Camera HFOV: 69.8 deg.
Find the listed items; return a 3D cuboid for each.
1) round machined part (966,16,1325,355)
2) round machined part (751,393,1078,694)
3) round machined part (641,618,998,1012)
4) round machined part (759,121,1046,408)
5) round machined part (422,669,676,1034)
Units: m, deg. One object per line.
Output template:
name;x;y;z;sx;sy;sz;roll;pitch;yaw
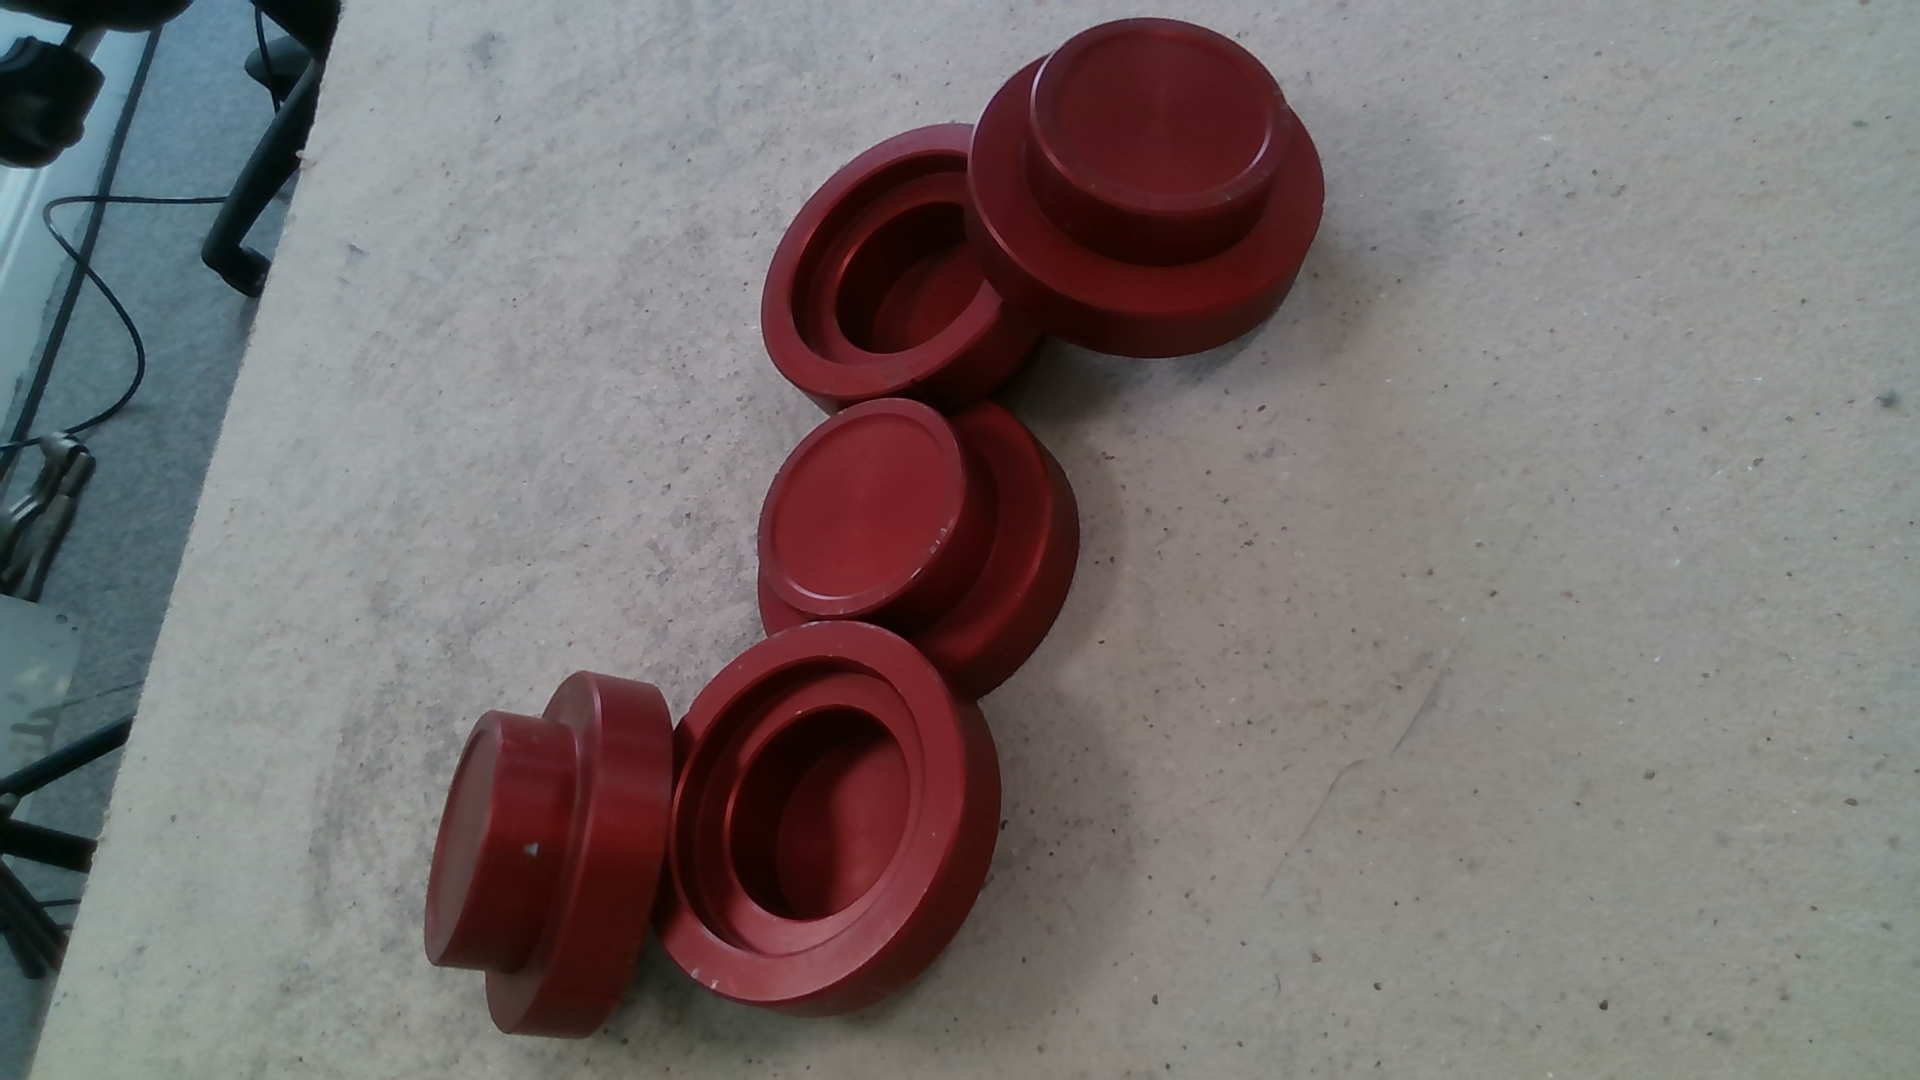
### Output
round machined part;0.051;-0.103;0.376;0.098;0.042;0.098;1;63;-2
round machined part;-0.019;-0.002;0.393;0.098;0.042;0.098;-14;58;23
round machined part;-0.033;0.074;0.363;0.098;0.042;0.098;-15;58;25
round machined part;-0.011;-0.078;0.429;0.098;0.042;0.098;-15;58;25
round machined part;-0.117;0.083;0.381;0.098;0.042;0.098;-37;44;48
